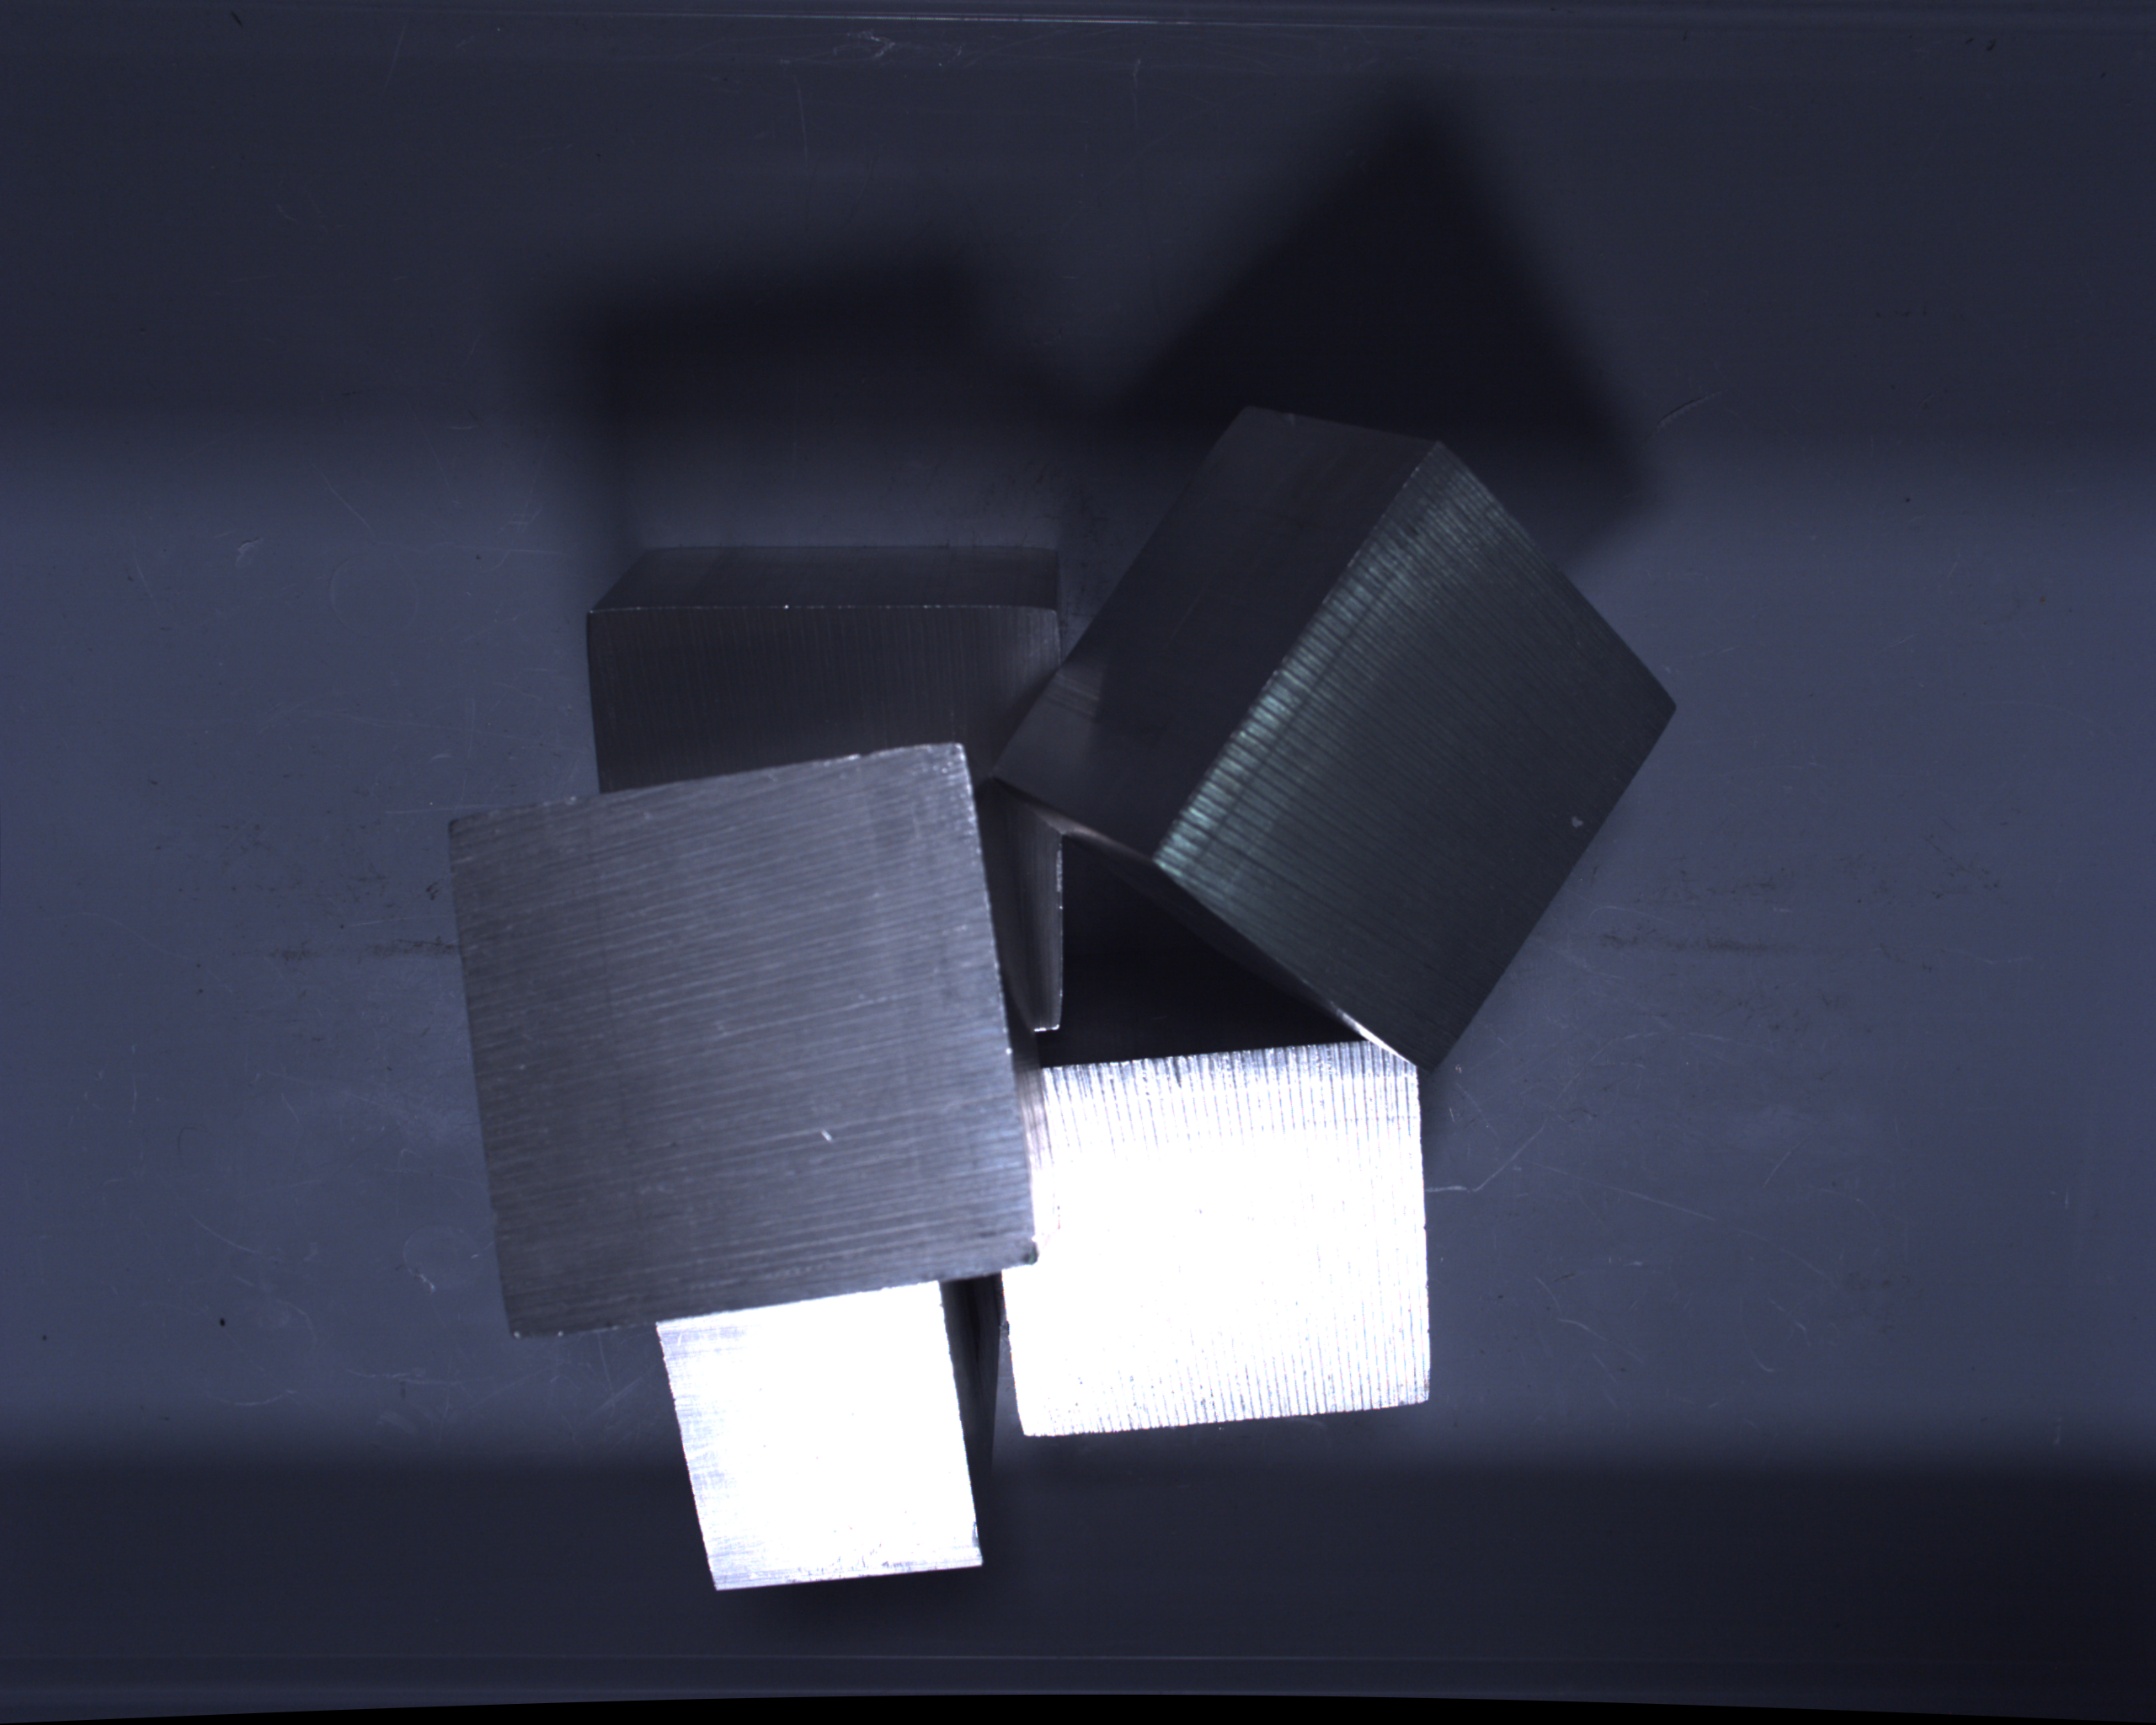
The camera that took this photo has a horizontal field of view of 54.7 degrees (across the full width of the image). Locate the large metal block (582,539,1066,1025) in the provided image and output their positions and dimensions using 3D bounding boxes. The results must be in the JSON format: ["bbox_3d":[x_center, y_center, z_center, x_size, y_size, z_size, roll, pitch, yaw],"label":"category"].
[{"bbox_3d":[-0.043,-0.016,0.390,0.081,0.050,0.079,-1,110,0],"label":"large metal block"}]

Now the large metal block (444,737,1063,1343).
[{"bbox_3d":[-0.049,0.028,0.337,0.080,0.050,0.080,-9,85,3],"label":"large metal block"}]

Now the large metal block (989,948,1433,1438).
[{"bbox_3d":[0.025,0.064,0.418,0.080,0.050,0.079,-5,110,1],"label":"large metal block"}]

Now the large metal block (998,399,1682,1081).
[{"bbox_3d":[0.045,-0.021,0.362,0.080,0.050,0.080,37,85,-37],"label":"large metal block"}]

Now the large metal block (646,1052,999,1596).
[{"bbox_3d":[-0.047,0.083,0.410,0.050,0.080,0.079,-6,110,2],"label":"large metal block"}]
